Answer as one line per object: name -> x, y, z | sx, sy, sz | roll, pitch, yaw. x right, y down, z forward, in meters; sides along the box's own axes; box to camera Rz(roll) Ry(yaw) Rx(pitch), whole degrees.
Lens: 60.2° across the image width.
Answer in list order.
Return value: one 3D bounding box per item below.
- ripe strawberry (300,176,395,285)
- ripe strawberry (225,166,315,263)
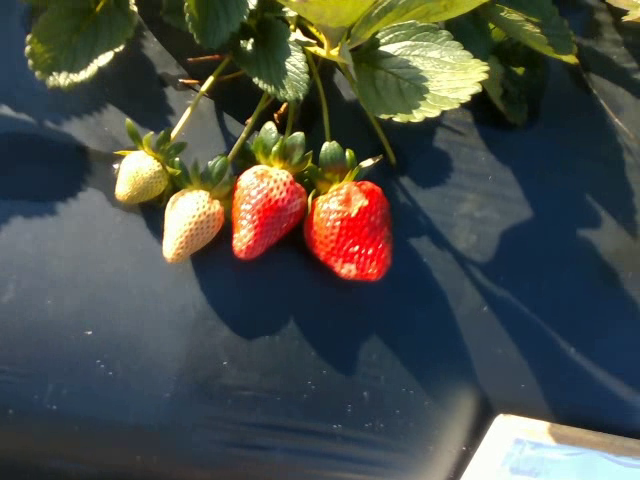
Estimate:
ripe strawberry -> 0.022, -0.002, 0.295 | 0.057, 0.067, 0.052 | -32, -27, 10
ripe strawberry -> -0.030, -0.015, 0.289 | 0.051, 0.061, 0.044 | 36, -26, -24
